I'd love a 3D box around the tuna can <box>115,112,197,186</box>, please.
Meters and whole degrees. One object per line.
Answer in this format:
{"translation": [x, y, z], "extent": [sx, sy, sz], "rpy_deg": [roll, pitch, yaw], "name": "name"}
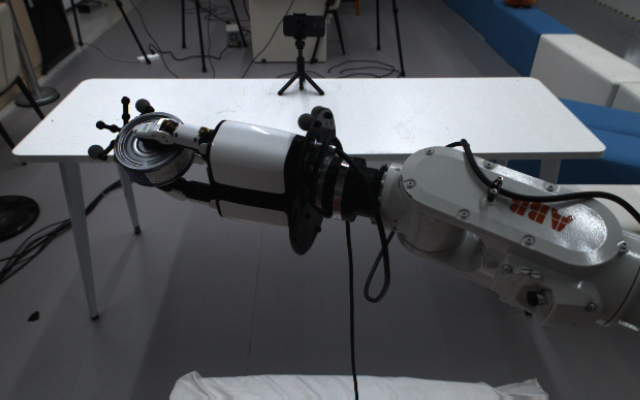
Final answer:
{"translation": [-0.188, -0.055, 0.561], "extent": [0.085, 0.034, 0.085], "rpy_deg": [0, 63, 1], "name": "tuna can"}
